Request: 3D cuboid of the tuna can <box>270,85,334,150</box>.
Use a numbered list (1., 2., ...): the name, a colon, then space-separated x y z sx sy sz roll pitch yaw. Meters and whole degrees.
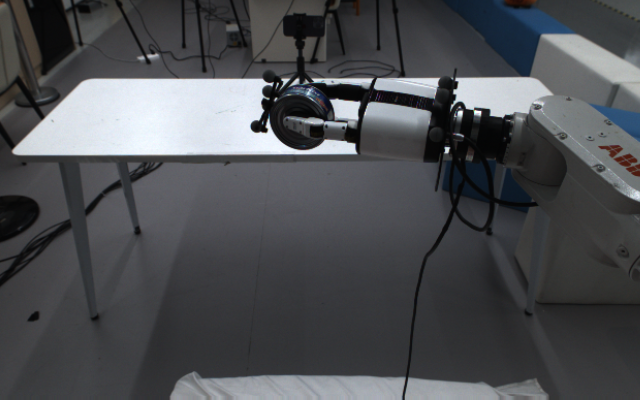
1. tuna can: -0.023 -0.110 0.663 0.085 0.085 0.034 9 35 10
